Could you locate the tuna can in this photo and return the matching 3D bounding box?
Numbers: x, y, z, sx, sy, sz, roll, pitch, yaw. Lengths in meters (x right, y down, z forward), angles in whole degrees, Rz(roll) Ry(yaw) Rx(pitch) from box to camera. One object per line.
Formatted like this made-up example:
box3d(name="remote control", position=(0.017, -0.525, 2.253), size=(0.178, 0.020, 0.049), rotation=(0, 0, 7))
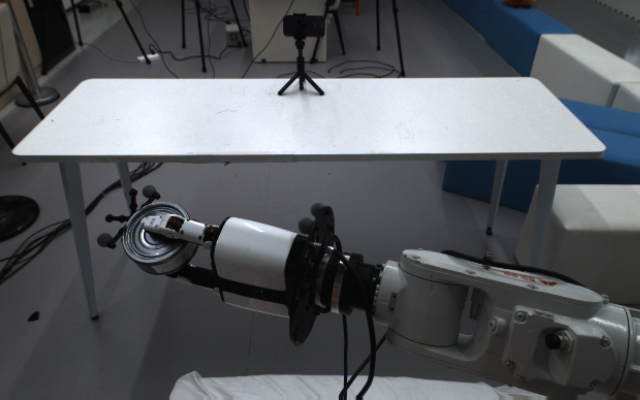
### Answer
box3d(name="tuna can", position=(-0.189, 0.050, 0.586), size=(0.085, 0.034, 0.085), rotation=(-1, 63, 1))
